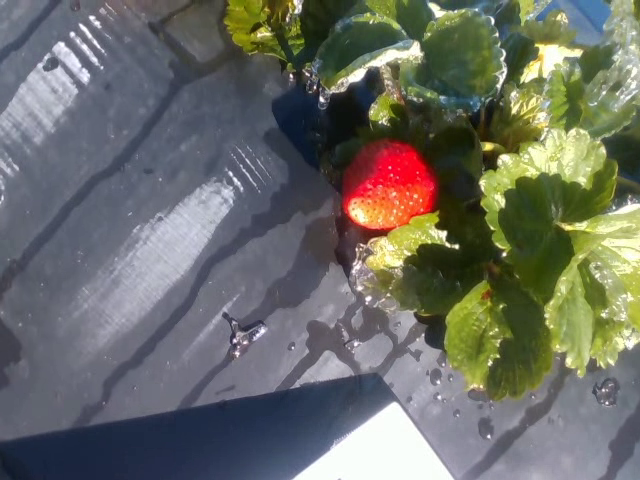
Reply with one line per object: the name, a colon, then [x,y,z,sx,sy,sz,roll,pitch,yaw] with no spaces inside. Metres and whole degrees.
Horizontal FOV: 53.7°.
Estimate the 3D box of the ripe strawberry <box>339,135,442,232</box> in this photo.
ripe strawberry: [0.023,-0.018,0.239,0.052,0.042,0.047,-22,-25,-54]
